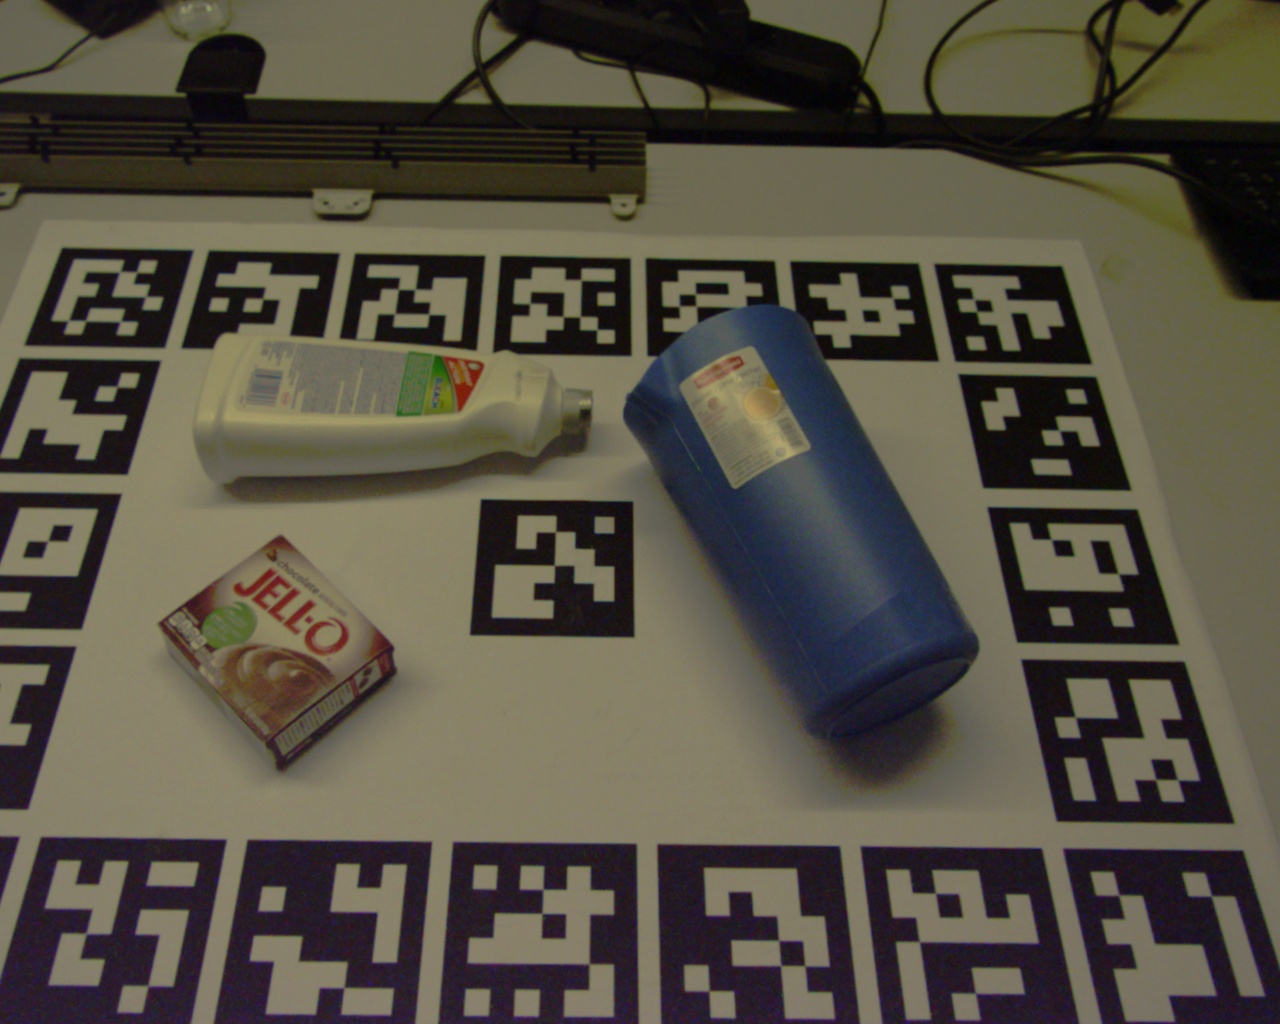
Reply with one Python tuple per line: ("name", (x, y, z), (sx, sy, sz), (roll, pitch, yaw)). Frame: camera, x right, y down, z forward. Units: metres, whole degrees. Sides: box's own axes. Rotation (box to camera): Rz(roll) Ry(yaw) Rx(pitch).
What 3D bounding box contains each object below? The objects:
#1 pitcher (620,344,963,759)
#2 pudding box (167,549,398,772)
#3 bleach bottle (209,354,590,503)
("pitcher", (0.102, 0.025, 0.722), (0.186, 0.134, 0.244), (0, 55, -45))
("pudding box", (-0.218, 0.089, 0.698), (0.115, 0.038, 0.089), (42, 59, 20))
("bleach bottle", (-0.160, -0.060, 0.788), (0.250, 0.068, 0.103), (-1, 61, -5))
